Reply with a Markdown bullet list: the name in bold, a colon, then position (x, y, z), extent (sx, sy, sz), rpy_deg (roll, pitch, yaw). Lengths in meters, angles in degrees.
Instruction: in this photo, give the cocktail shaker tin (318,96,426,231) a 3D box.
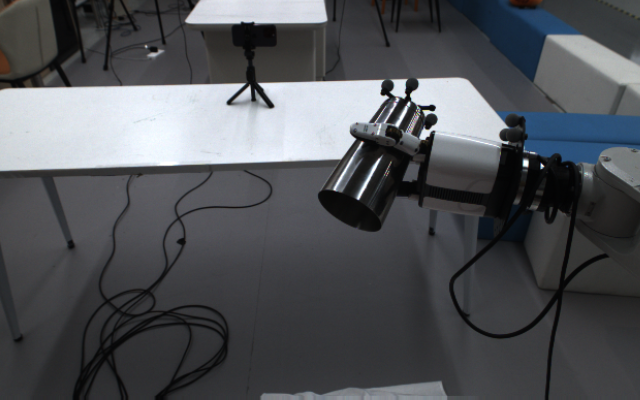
- **cocktail shaker tin**: position (0.079, -0.057, 0.646), extent (0.093, 0.093, 0.170), rpy_deg (20, 67, 24)
